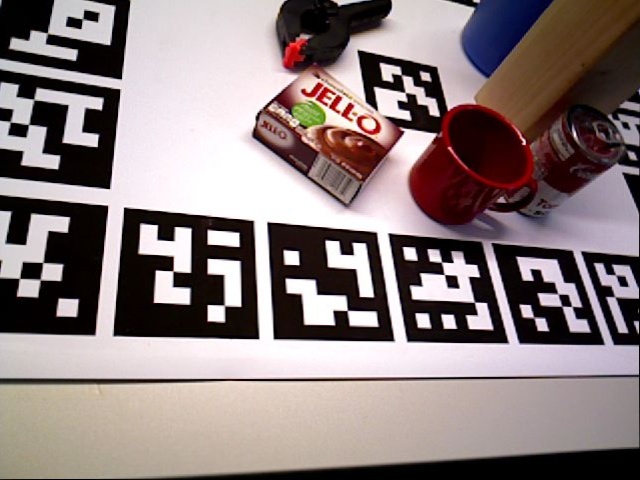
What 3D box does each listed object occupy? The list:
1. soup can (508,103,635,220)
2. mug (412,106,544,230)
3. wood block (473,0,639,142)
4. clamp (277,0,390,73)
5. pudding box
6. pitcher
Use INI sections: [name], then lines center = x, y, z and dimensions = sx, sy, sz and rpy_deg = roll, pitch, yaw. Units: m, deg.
[soup can]
center = 0.235, -0.072, 0.525
dimensions = 0.067, 0.104, 0.067
rpy_deg = 9, 62, -17
[mug]
center = 0.147, -0.056, 0.496
dimensions = 0.117, 0.083, 0.091
rpy_deg = 34, 53, 1
[wood block]
center = 0.259, -0.175, 0.527
dimensions = 0.088, 0.211, 0.090
rpy_deg = 3, 61, -25
[clamp]
center = 0.003, -0.234, 0.573
dimensions = 0.121, 0.037, 0.162
rpy_deg = 33, 56, -11
[pudding box]
center = 0.002, -0.097, 0.491
dimensions = 0.114, 0.039, 0.088
rpy_deg = 36, 59, 1
[pitcher]
center = 0.274, -0.287, 0.576
dimensions = 0.186, 0.248, 0.132
rpy_deg = 2, 59, -18
